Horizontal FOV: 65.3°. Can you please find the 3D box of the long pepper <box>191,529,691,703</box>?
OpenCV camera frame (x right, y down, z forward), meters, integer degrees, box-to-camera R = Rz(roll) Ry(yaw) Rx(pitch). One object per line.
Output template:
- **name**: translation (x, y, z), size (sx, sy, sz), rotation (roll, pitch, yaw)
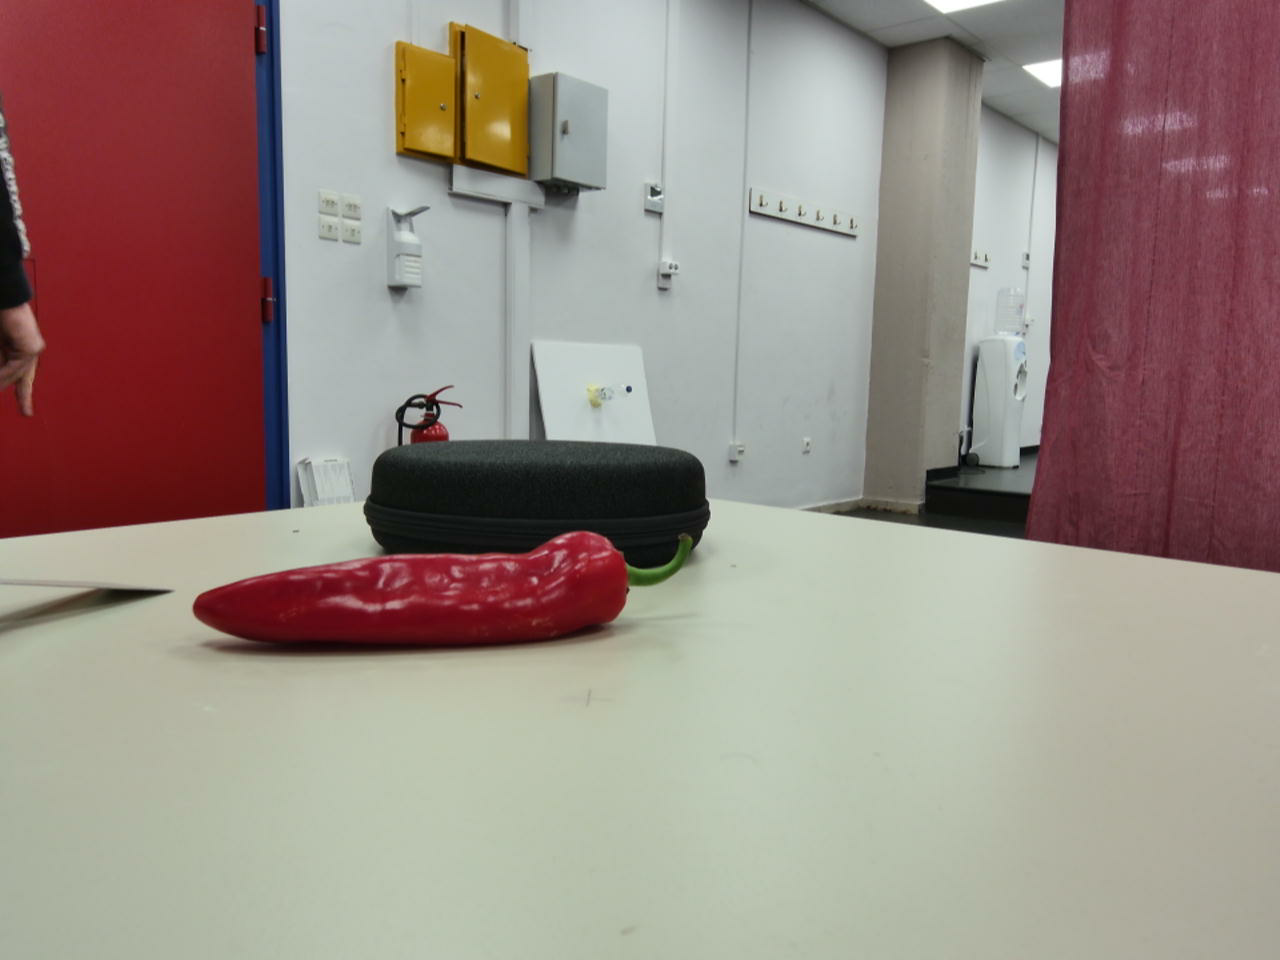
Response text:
- **long pepper**: translation (-0.074, 0.046, 0.425), size (0.211, 0.043, 0.050), rotation (-2, 5, -18)
